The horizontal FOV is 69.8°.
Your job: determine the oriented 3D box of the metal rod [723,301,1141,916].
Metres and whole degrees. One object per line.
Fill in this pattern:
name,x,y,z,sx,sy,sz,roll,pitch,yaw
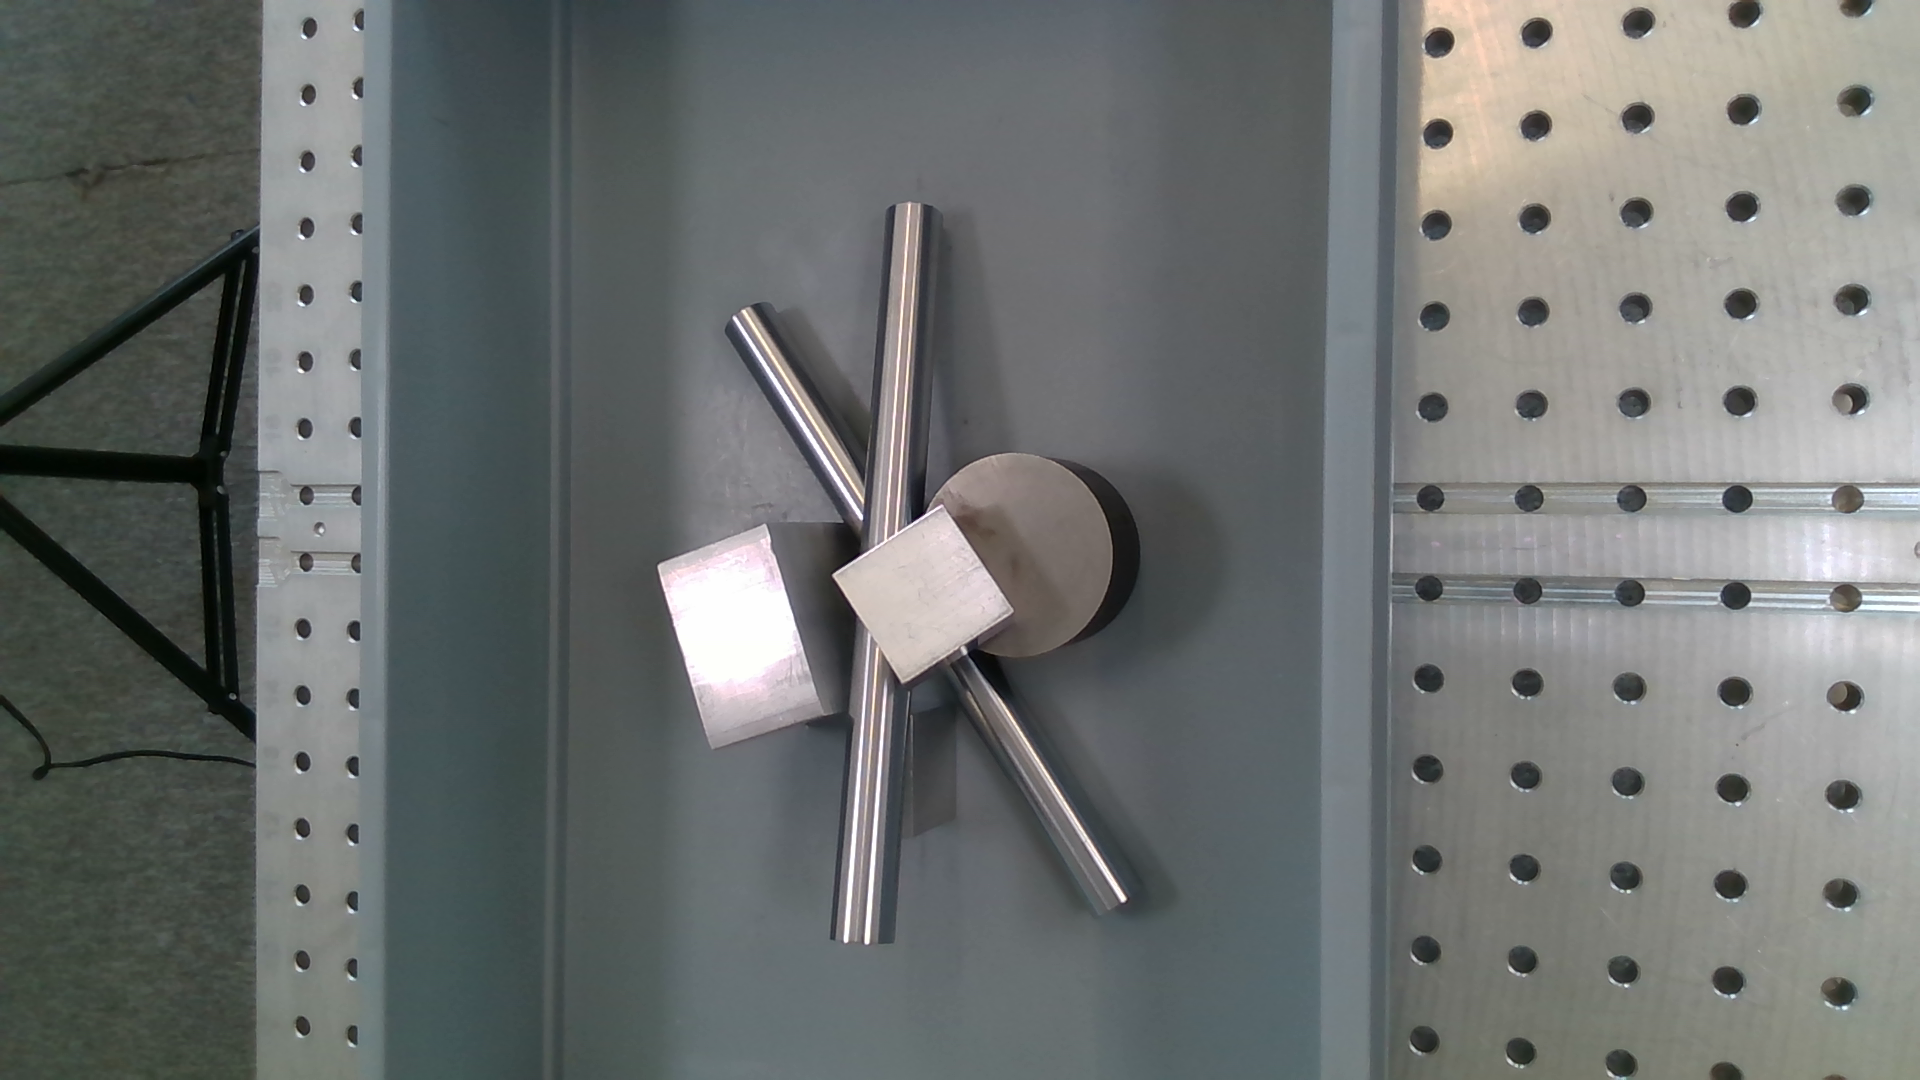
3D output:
metal rod,-0.016,0.024,0.592,0.025,0.025,0.300,-36,79,17

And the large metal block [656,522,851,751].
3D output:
large metal block,-0.075,0.038,0.583,0.050,0.080,0.080,-19,84,19

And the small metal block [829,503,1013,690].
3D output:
small metal block,-0.014,0.022,0.528,0.050,0.025,0.050,-33,78,-6

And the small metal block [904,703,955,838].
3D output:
small metal block,-0.023,0.095,0.581,0.025,0.050,0.050,0,89,20

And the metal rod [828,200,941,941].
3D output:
metal rod,-0.029,0.006,0.558,0.025,0.025,0.299,-1,77,20

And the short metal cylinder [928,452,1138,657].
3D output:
short metal cylinder,0.028,0.005,0.561,0.080,0.050,0.080,0,91,19
